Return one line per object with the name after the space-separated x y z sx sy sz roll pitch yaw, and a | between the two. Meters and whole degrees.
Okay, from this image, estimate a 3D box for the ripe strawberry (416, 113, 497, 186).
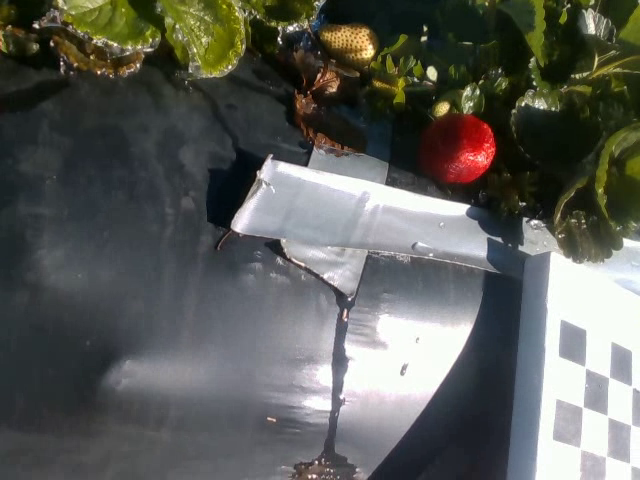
0.093 -0.053 0.378 0.058 0.061 0.065 -34 11 13 | ripe strawberry
